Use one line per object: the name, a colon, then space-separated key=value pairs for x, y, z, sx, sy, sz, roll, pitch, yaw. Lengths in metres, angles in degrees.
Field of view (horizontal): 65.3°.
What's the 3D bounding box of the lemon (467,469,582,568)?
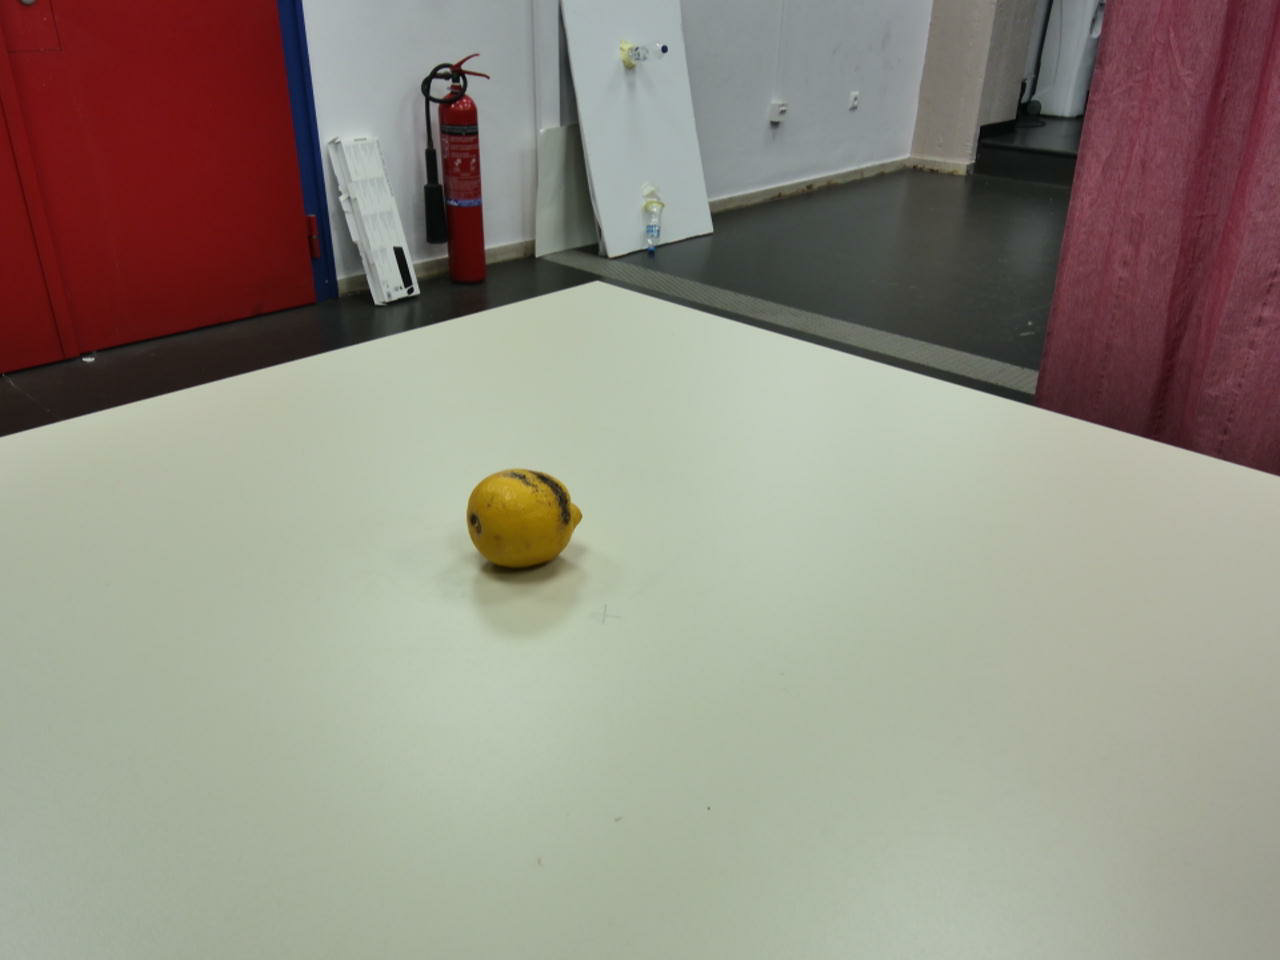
lemon: x=-0.068 y=0.021 z=0.570 sx=0.058 sy=0.056 sz=0.061 roll=17 pitch=30 yaw=30
